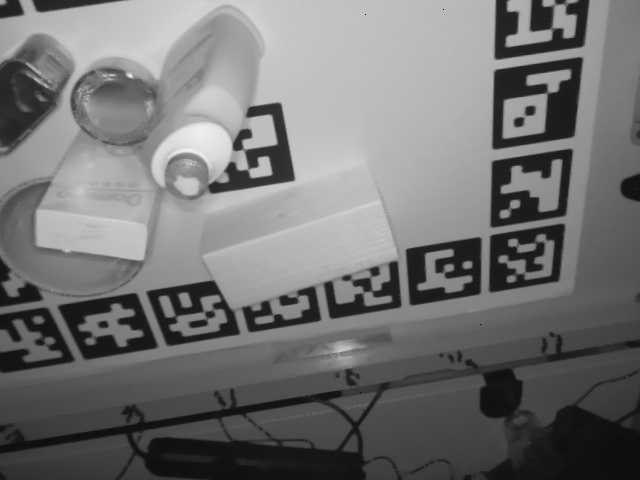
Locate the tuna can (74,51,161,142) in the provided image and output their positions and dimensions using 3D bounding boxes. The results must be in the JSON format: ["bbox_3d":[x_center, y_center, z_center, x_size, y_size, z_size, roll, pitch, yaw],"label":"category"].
[{"bbox_3d":[-0.199,-0.145,0.696,0.086,0.034,0.085,-4,122,-5],"label":"tuna can"}]

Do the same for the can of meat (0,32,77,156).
[{"bbox_3d":[-0.285,-0.142,0.664,0.101,0.084,0.058,-33,125,17],"label":"can of meat"}]

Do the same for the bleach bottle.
[{"bbox_3d":[-0.093,-0.119,0.600,0.102,0.252,0.068,-30,124,13],"label":"bleach bottle"}]

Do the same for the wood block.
[{"bbox_3d":[-0.019,-0.003,0.791,0.206,0.090,0.090,-16,121,4],"label":"wood block"}]

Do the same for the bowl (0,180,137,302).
[{"bbox_3d":[-0.282,-0.009,0.768,0.162,0.055,0.160,-6,125,-8],"label":"bowl"}]

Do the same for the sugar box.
[{"bbox_3d":[-0.207,-0.051,0.672,0.094,0.177,0.045,8,122,-16],"label":"sugar box"}]
